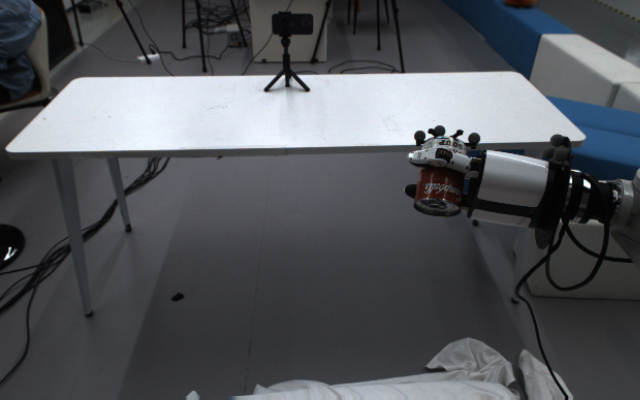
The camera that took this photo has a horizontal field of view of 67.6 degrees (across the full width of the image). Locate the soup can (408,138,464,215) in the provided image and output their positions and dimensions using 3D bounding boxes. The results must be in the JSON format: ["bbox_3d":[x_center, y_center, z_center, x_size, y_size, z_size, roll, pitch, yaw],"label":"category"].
[{"bbox_3d":[0.179,-0.035,0.709,0.067,0.067,0.101,9,70,10],"label":"soup can"}]
